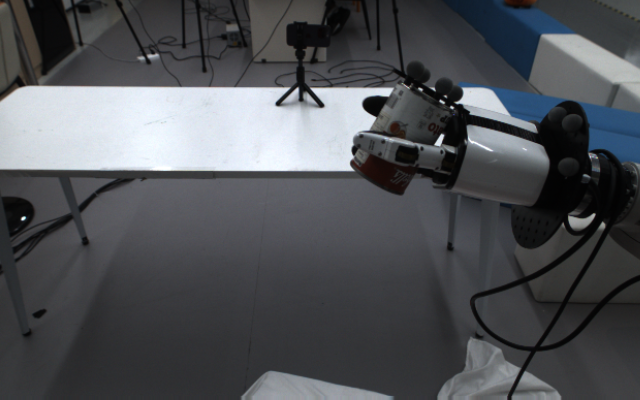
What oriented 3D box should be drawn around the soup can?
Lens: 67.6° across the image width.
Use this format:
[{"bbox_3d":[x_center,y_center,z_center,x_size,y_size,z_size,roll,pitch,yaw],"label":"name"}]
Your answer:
[{"bbox_3d":[0.087,-0.065,0.509,0.067,0.101,0.067,27,18,-9],"label":"soup can"}]
